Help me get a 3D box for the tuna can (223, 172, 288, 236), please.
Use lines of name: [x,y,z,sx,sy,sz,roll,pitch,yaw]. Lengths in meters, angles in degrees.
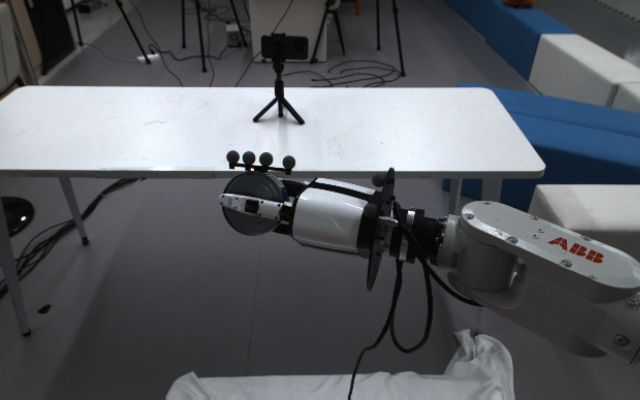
tuna can: [-0.085,0.004,0.647,0.085,0.085,0.034,12,2,13]
